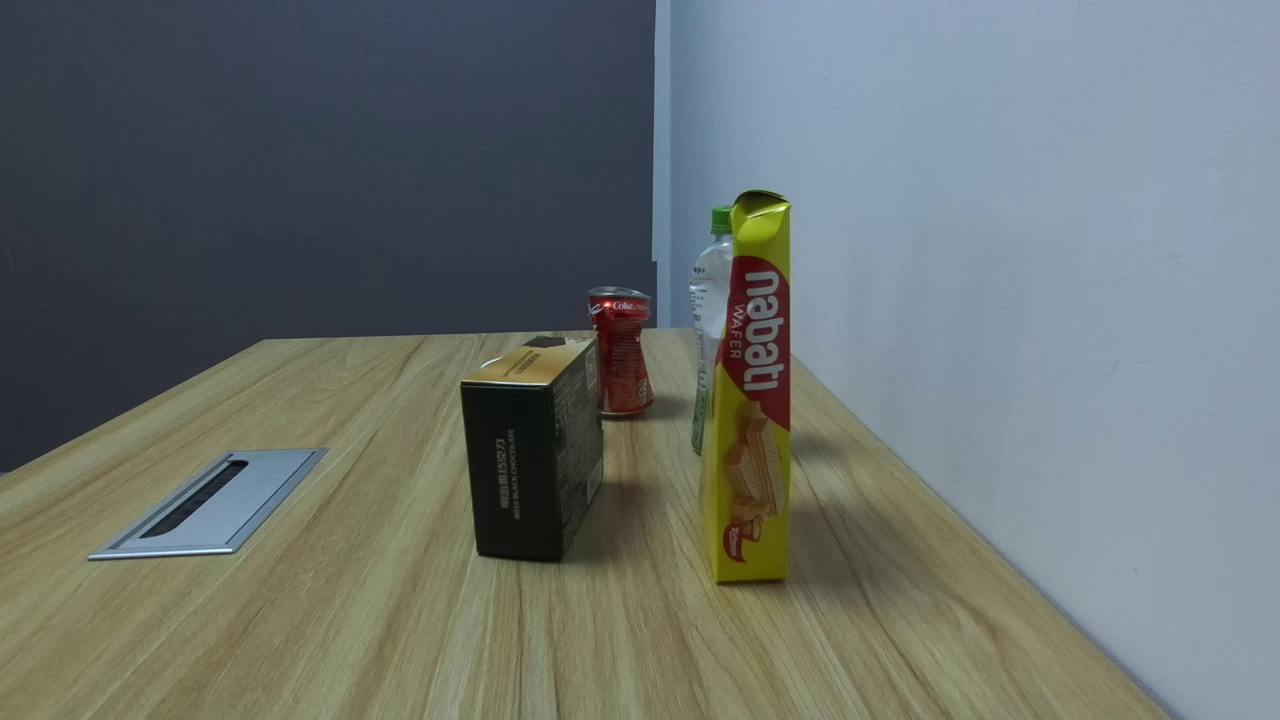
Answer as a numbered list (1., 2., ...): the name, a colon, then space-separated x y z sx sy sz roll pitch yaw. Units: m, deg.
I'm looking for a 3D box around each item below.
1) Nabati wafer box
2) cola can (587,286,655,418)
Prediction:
1. Nabati wafer box: 0.058 0.010 0.391 0.042 0.205 0.113 1 16 -1
2. cola can: -0.019 -0.007 0.633 0.065 0.112 0.069 3 13 18
